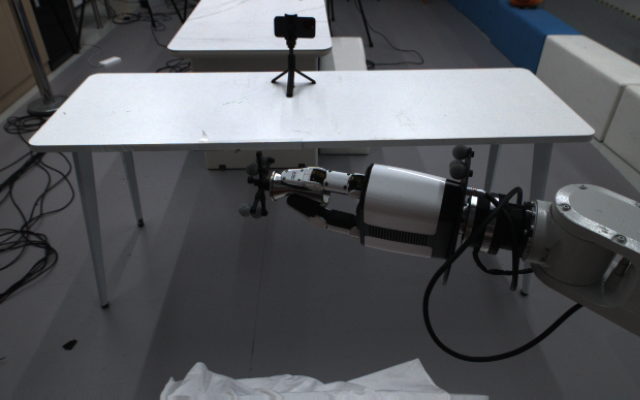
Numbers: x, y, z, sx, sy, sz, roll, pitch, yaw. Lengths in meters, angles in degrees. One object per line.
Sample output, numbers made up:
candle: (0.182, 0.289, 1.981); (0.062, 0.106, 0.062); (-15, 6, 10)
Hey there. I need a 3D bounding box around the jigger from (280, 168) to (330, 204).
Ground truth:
jigger: (-0.018, -0.019, 0.600); (0.071, 0.043, 0.043); (4, 34, 13)
